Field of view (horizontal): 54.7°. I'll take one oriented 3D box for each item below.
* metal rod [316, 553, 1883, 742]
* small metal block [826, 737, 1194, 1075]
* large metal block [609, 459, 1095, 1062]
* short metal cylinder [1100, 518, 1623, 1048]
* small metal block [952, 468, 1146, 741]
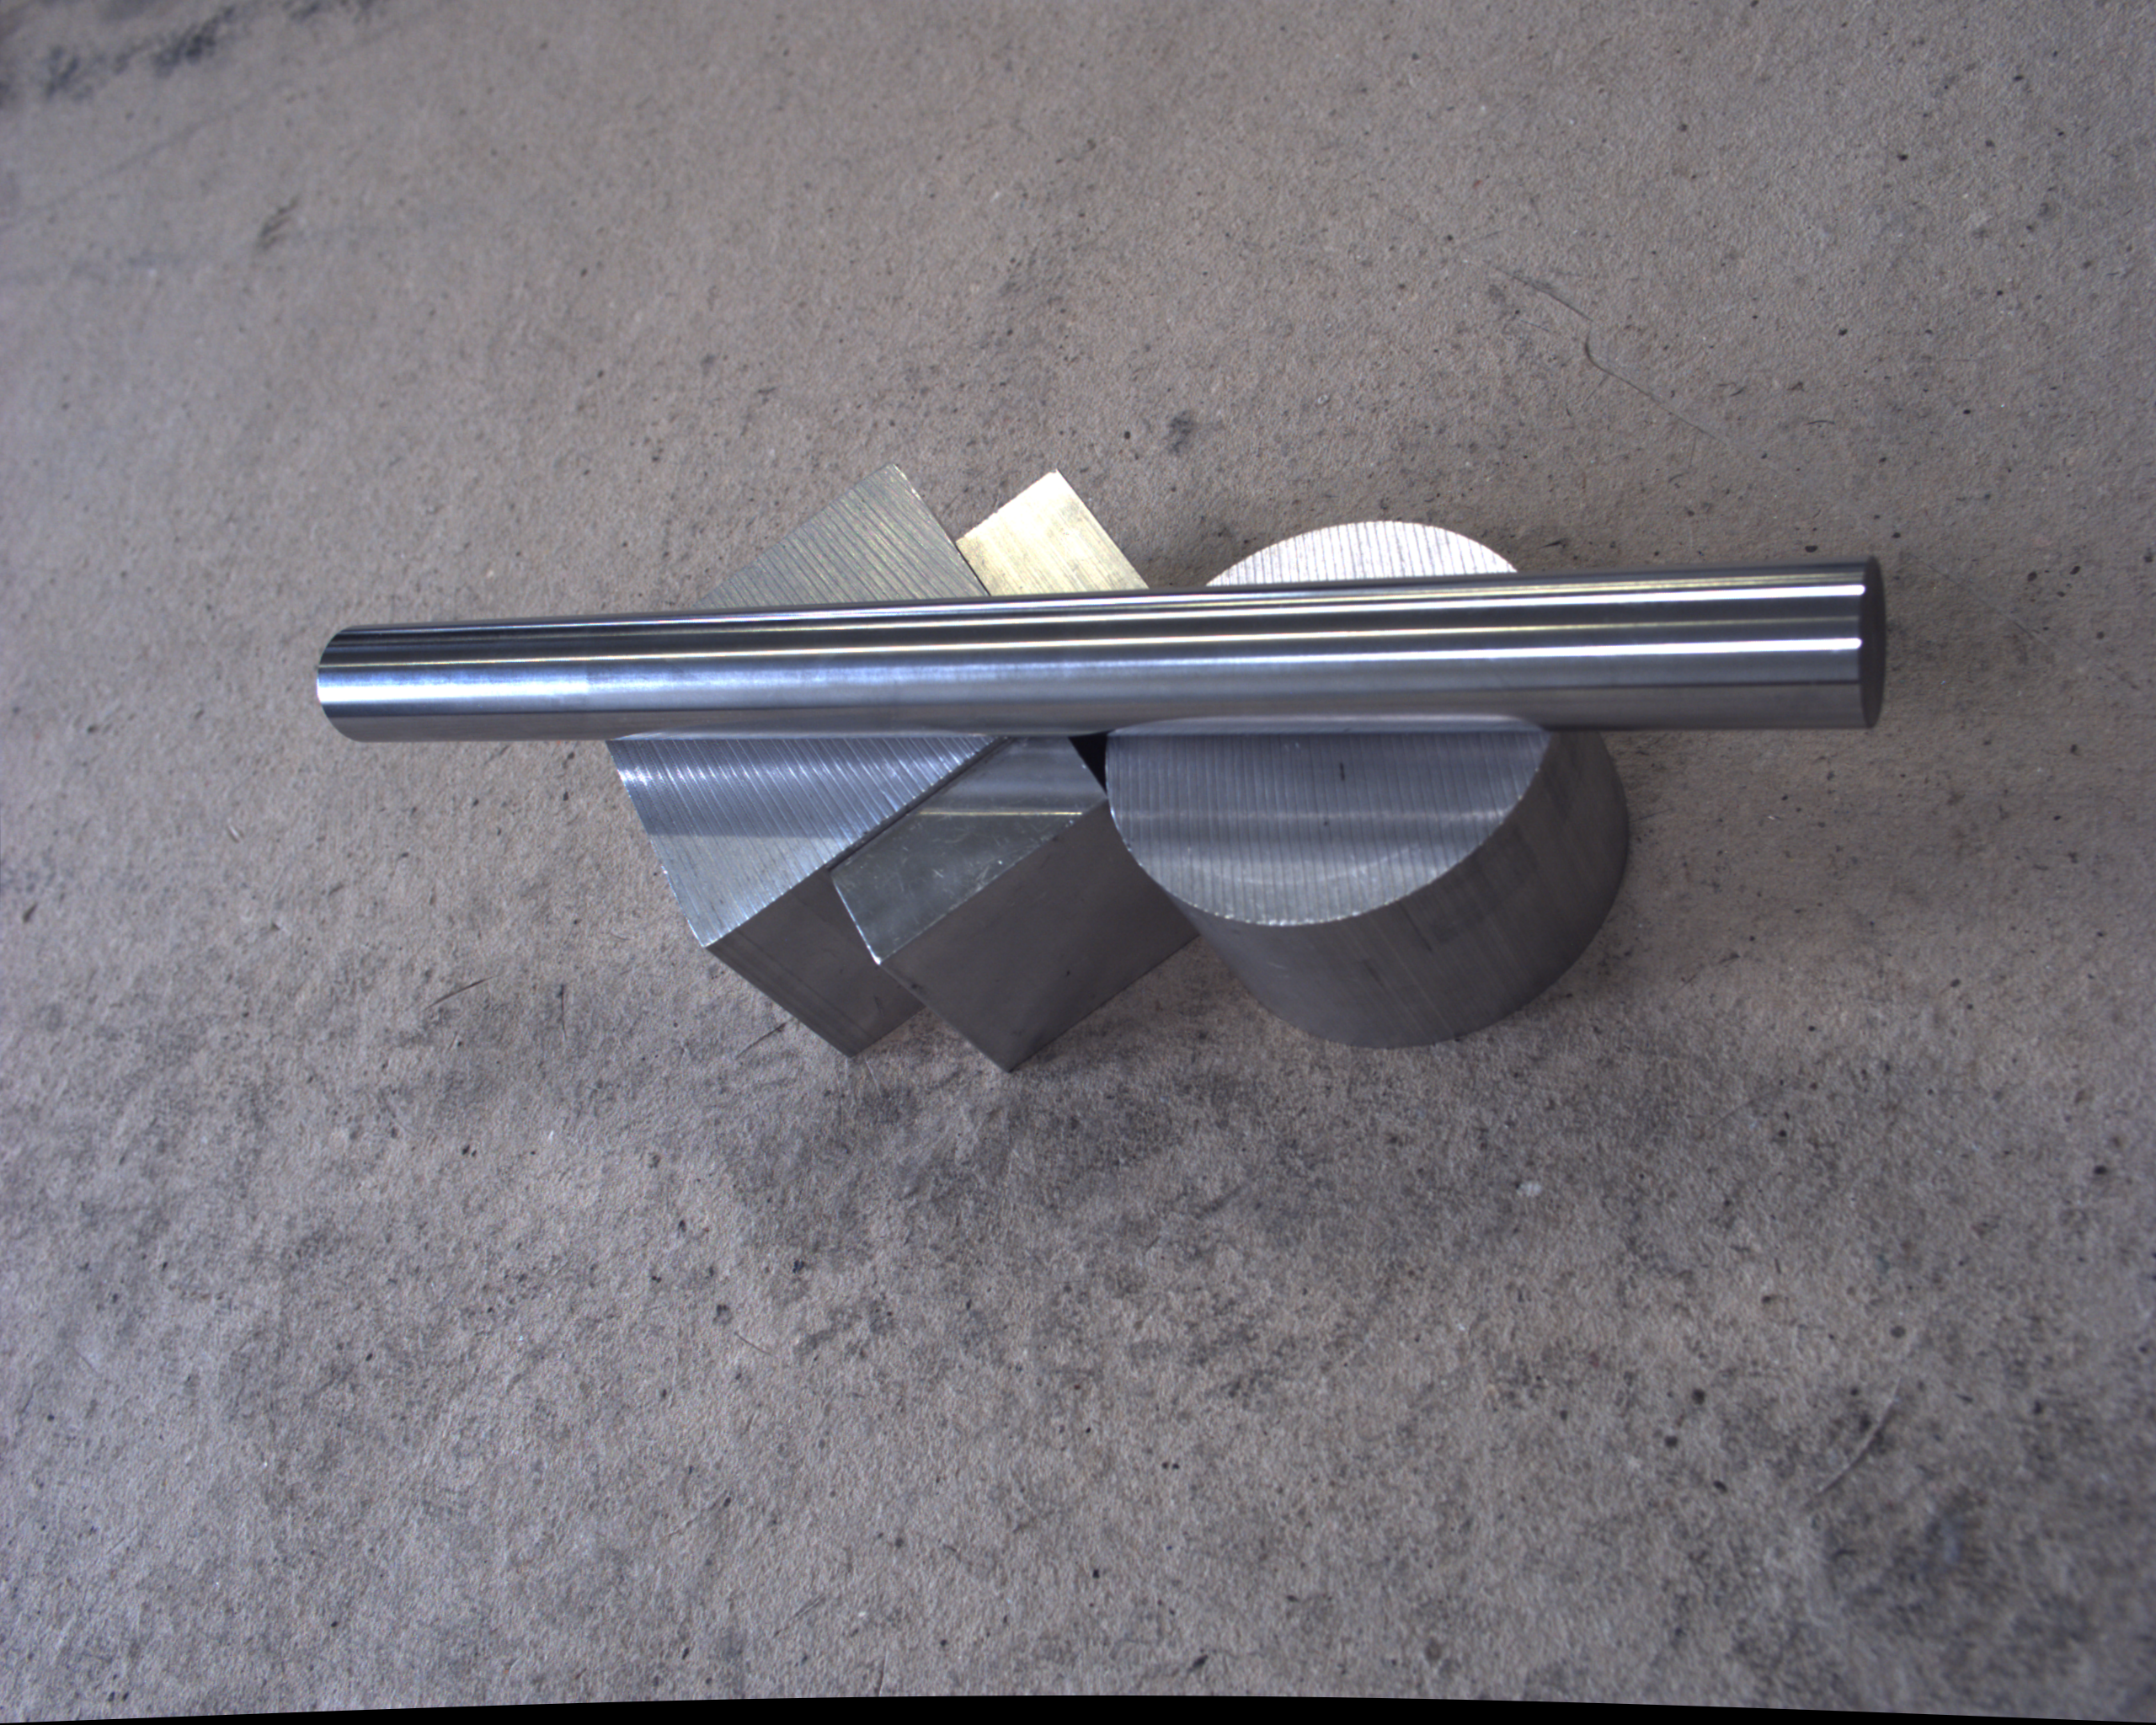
[{"bbox_3d":[-0.019,-0.035,0.370,0.300,0.025,0.025,1,62,28],"label":"metal rod"},{"bbox_3d":[-0.010,0.007,0.392,0.050,0.050,0.025,-36,52,4],"label":"small metal block"},{"bbox_3d":[-0.043,-0.021,0.423,0.080,0.050,0.080,-36,51,4],"label":"large metal block"},{"bbox_3d":[0.051,-0.014,0.370,0.080,0.050,0.080,-13,56,21],"label":"short metal cylinder"},{"bbox_3d":[0.007,-0.042,0.412,0.025,0.050,0.050,-37,52,4],"label":"small metal block"}]
